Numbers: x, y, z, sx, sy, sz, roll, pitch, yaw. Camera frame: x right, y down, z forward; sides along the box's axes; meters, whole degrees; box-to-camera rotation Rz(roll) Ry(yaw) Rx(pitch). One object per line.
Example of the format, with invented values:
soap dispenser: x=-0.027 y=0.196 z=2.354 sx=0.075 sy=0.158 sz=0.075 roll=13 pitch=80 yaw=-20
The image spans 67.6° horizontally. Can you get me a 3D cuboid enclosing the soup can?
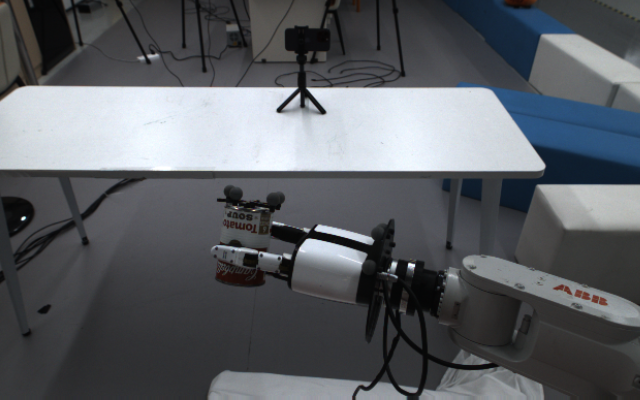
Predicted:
soup can: x=-0.099 y=0.060 z=0.650 sx=0.067 sy=0.101 sz=0.067 roll=7 pitch=4 yaw=0
